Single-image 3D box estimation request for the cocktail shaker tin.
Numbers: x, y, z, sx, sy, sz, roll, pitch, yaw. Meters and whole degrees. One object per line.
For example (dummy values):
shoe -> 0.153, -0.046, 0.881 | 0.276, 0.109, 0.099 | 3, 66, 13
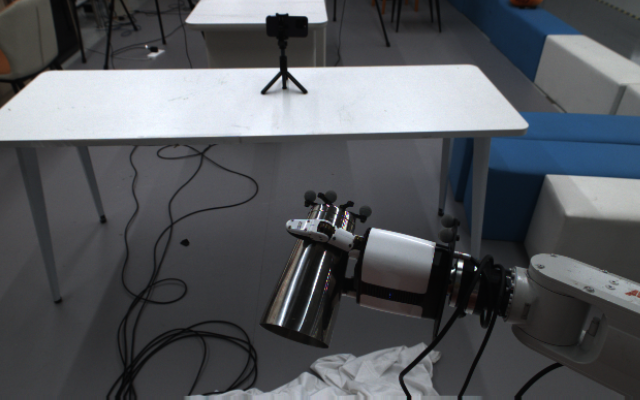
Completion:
cocktail shaker tin -> -0.004, 0.091, 0.630 | 0.093, 0.093, 0.170 | 12, 65, 14
